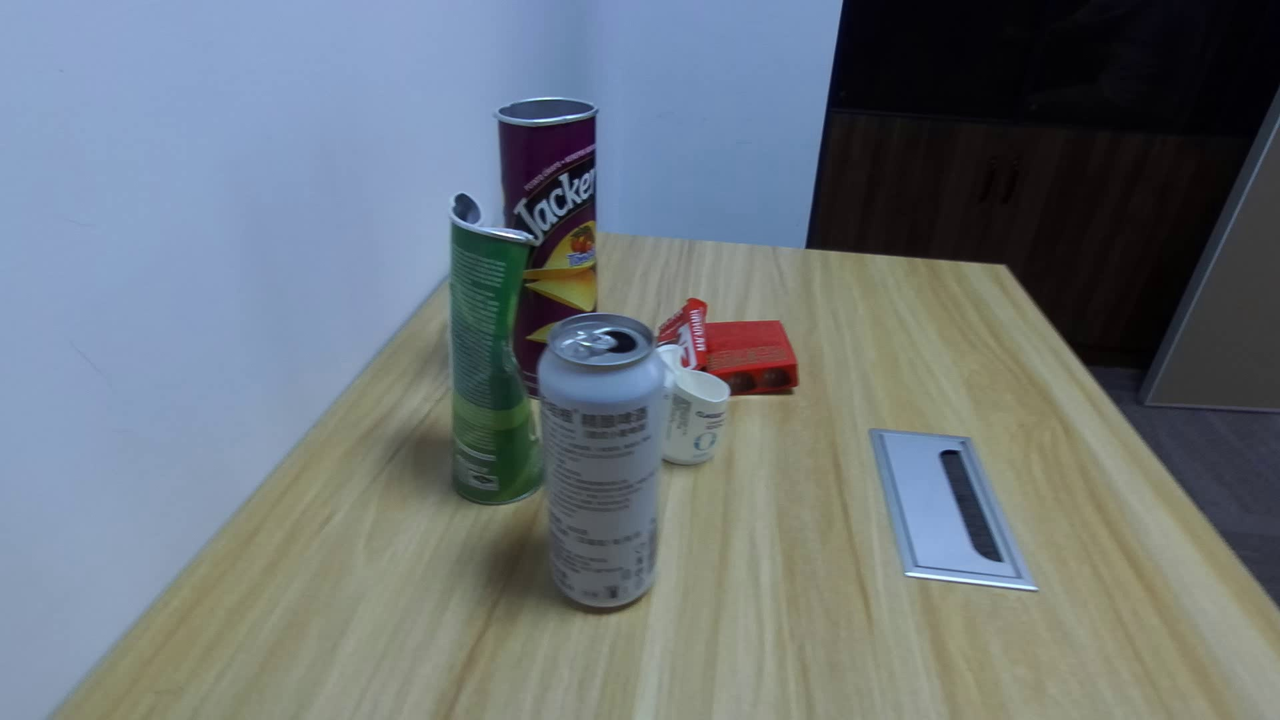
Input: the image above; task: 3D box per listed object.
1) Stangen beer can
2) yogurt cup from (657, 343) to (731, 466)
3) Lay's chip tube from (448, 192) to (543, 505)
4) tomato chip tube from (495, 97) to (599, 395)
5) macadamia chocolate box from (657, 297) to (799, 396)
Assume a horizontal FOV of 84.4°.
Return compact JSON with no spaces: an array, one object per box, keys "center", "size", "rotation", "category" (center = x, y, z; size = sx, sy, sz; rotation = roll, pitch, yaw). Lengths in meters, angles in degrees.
[{"center":[-0.021,0.061,0.402],"size":[0.067,0.171,0.067],"rotation":[0,30,0],"category":"Stangen beer can"},{"center":[0.036,0.036,0.537],"size":[0.075,0.071,0.054],"rotation":[22,36,29],"category":"yogurt cup"},{"center":[-0.100,-0.001,0.473],"size":[0.077,0.201,0.069],"rotation":[16,33,19],"category":"Lay's chip tube"},{"center":[-0.071,-0.081,0.578],"size":[0.080,0.234,0.076],"rotation":[-12,30,-23],"category":"tomato chip tube"},{"center":[0.077,-0.004,0.649],"size":[0.126,0.056,0.112],"rotation":[5,46,-1],"category":"macadamia chocolate box"}]
